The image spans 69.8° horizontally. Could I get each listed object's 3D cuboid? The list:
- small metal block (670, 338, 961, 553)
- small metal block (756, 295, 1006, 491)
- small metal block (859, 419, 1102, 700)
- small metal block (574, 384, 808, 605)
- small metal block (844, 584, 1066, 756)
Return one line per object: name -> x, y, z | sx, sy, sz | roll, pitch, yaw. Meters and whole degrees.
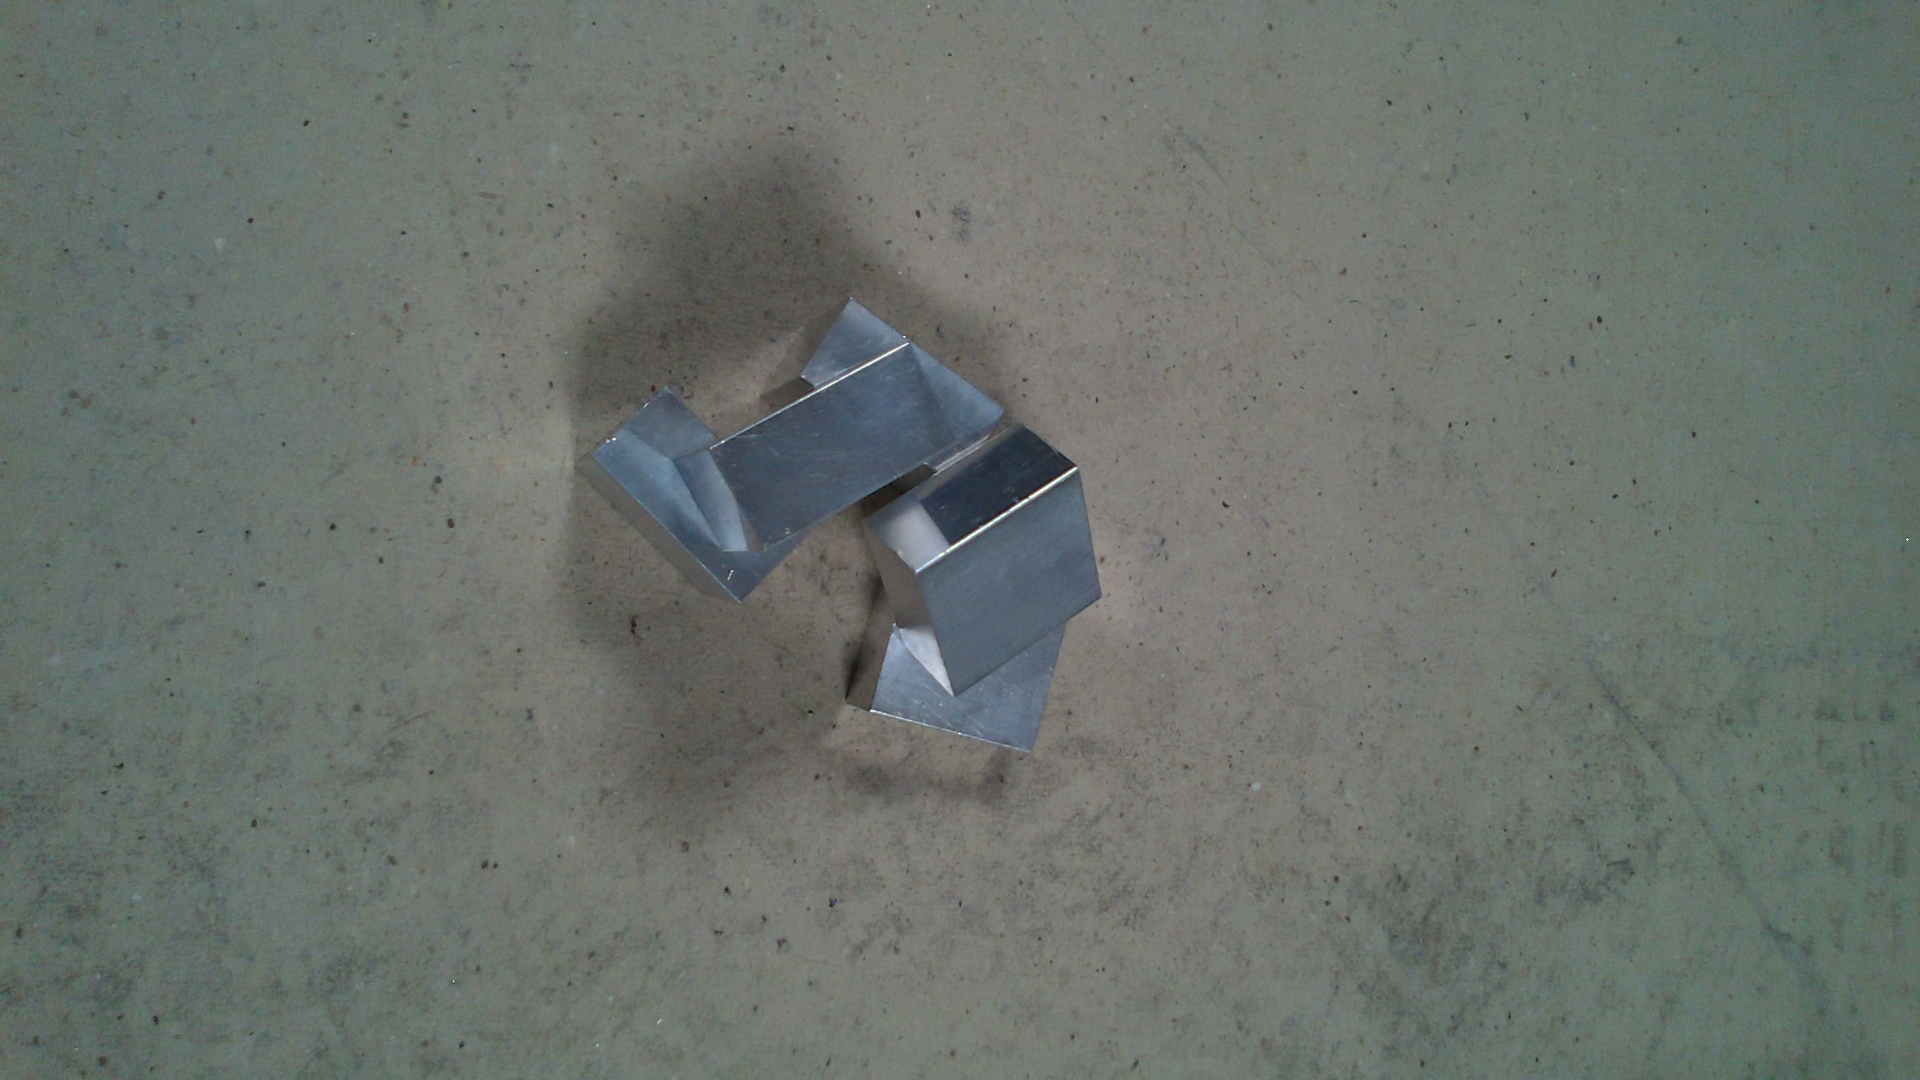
small metal block -> -0.035, -0.020, 0.315 | 0.050, 0.050, 0.025 | -31, 100, -17
small metal block -> -0.023, -0.037, 0.372 | 0.050, 0.050, 0.025 | 34, 79, -17
small metal block -> 0.007, 0.005, 0.357 | 0.050, 0.025, 0.050 | -33, 138, -17
small metal block -> -0.071, -0.011, 0.355 | 0.025, 0.050, 0.050 | -46, 104, -14
small metal block -> 0.000, 0.030, 0.394 | 0.050, 0.025, 0.050 | 17, 84, -19
